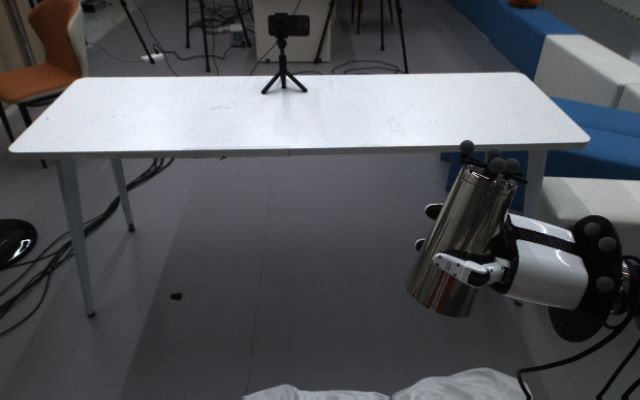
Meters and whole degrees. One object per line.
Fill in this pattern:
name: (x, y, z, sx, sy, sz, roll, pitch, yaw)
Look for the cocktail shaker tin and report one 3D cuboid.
cocktail shaker tin: (0.178, 0.046, 0.597, 0.093, 0.170, 0.093, 14, 19, -5)
